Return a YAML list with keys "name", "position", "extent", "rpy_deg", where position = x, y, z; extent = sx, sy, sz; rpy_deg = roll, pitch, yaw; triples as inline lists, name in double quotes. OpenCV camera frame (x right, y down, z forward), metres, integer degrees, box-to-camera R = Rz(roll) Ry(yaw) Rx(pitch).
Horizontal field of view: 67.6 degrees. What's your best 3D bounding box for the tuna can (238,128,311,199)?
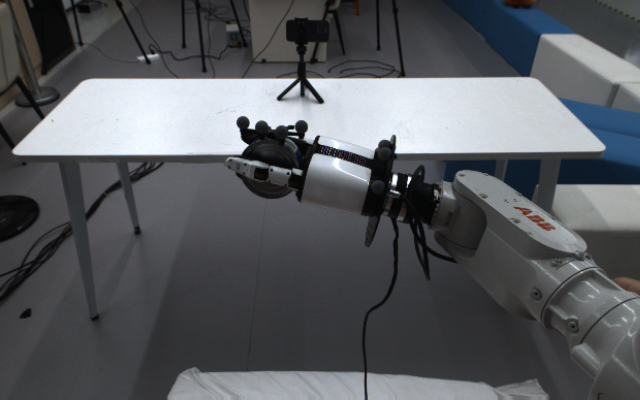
- name: "tuna can"
  position: [-0.066, -0.046, 0.671]
  extent: [0.085, 0.085, 0.034]
  rpy_deg: [6, 23, 6]
